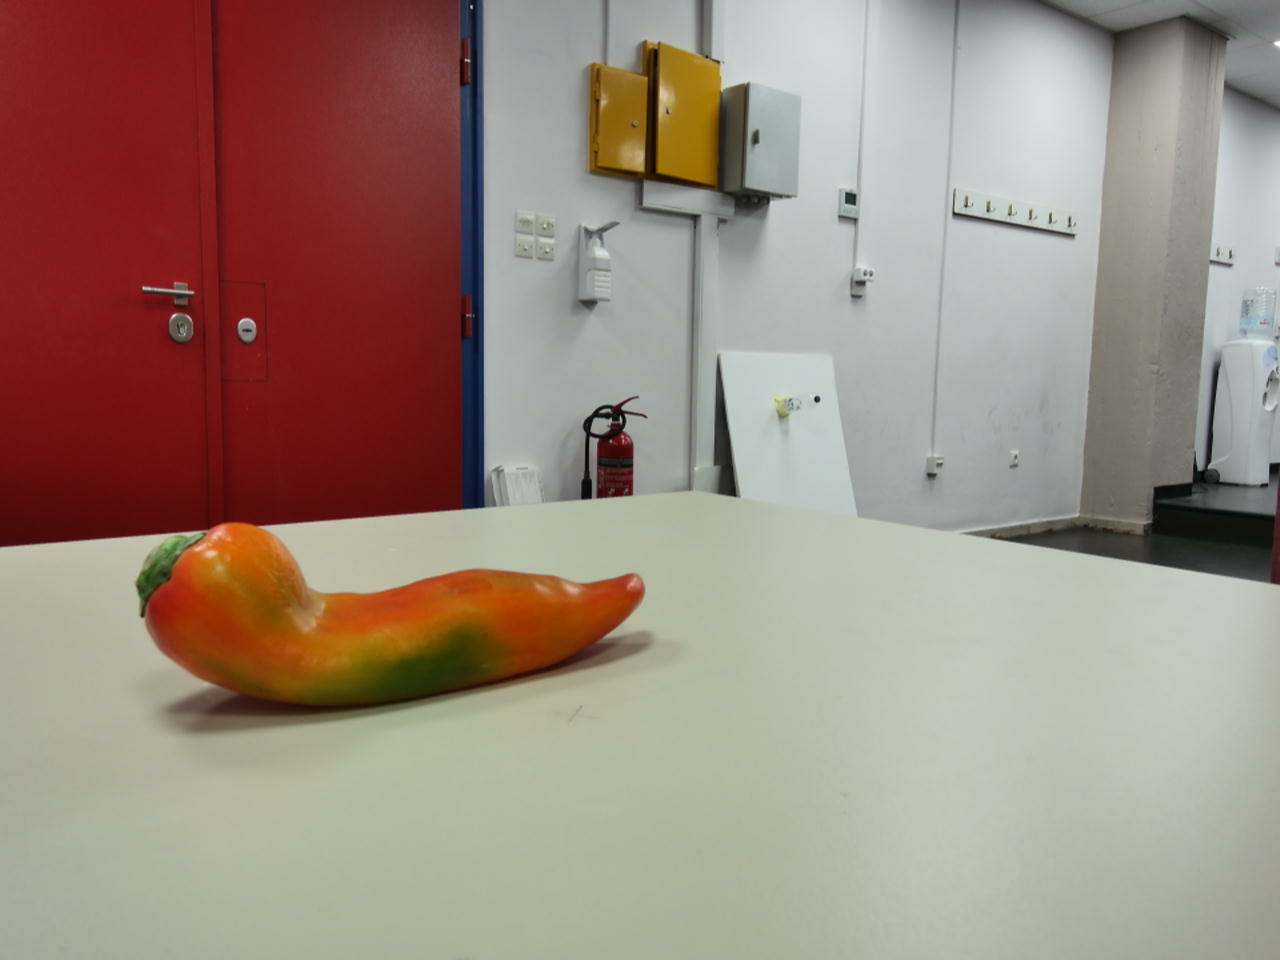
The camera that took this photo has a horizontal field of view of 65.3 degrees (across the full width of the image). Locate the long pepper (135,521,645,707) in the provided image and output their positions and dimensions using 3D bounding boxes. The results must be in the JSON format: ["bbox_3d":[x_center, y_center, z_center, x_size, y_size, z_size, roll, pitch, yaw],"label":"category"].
[{"bbox_3d":[-0.079,0.044,0.379,0.199,0.065,0.066,-3,4,-33],"label":"long pepper"}]
